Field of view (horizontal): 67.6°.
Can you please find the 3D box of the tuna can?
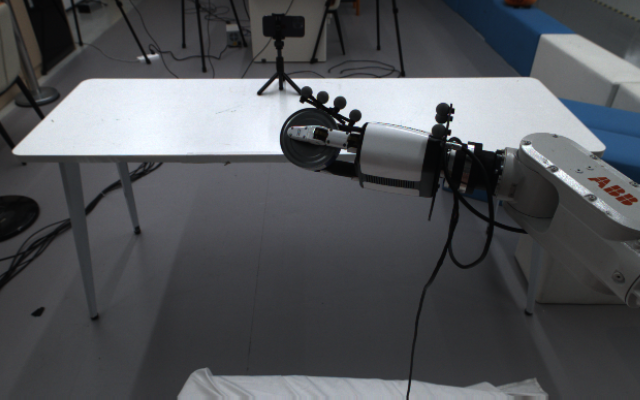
[{"bbox_3d":[-0.012,-0.086,0.691,0.085,0.085,0.034,9,-5,10],"label":"tuna can"}]
